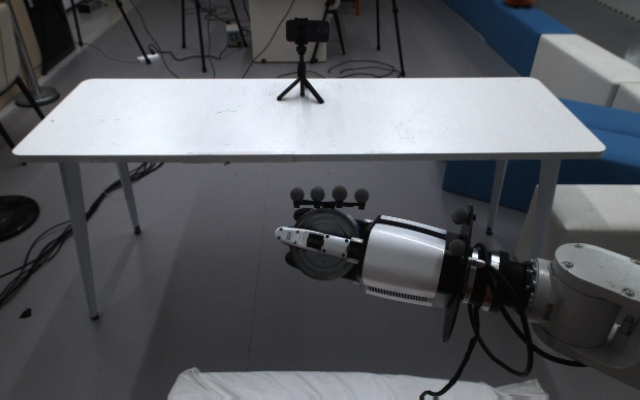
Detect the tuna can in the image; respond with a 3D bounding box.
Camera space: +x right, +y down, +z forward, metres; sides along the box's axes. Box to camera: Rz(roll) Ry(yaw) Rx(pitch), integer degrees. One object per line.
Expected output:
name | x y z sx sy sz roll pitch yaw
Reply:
tuna can | 0.012 0.057 0.578 0.085 0.085 0.034 12 0 14
